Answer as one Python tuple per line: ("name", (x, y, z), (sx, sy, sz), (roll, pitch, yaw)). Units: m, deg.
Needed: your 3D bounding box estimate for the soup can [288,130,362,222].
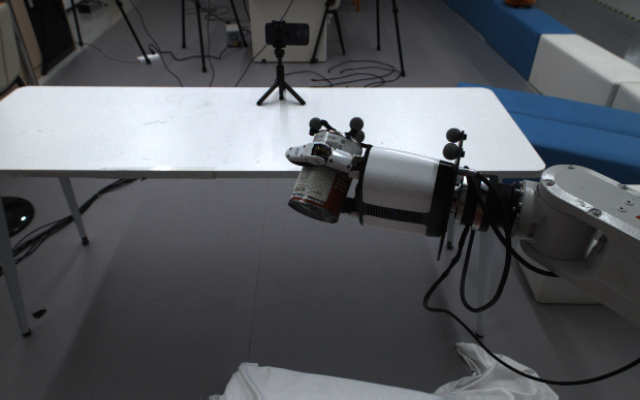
("soup can", (0.009, -0.030, 0.619), (0.067, 0.067, 0.101), (15, 74, 18))
